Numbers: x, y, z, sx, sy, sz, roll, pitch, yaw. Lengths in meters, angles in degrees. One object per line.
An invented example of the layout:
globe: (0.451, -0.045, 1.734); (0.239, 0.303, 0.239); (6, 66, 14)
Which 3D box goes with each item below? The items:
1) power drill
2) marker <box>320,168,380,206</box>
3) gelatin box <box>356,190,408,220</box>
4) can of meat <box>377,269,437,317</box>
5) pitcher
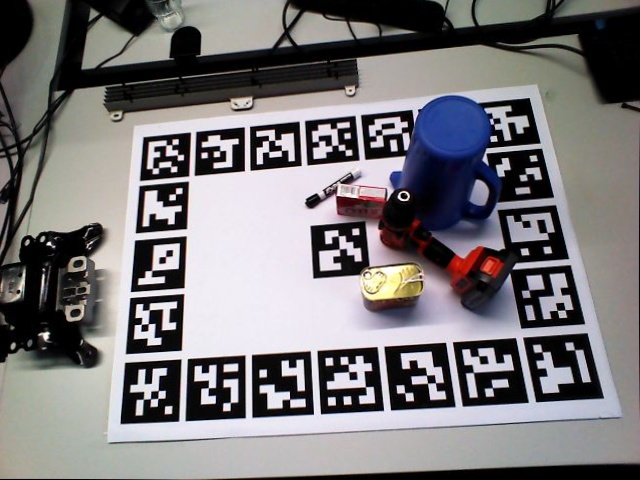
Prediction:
power drill: (0.204, 0.007, 0.819); (0.187, 0.185, 0.057); (31, 78, 9)
marker: (0.054, -0.097, 0.957); (0.121, 0.020, 0.019); (-30, 70, -4)
gelatin box: (0.109, -0.059, 0.912); (0.089, 0.073, 0.030); (6, 74, 6)
can of meat: (0.144, 0.088, 0.845); (0.102, 0.084, 0.057); (-5, 67, 3)
pitcher: (0.246, -0.101, 0.830); (0.189, 0.243, 0.133); (26, 77, 21)
